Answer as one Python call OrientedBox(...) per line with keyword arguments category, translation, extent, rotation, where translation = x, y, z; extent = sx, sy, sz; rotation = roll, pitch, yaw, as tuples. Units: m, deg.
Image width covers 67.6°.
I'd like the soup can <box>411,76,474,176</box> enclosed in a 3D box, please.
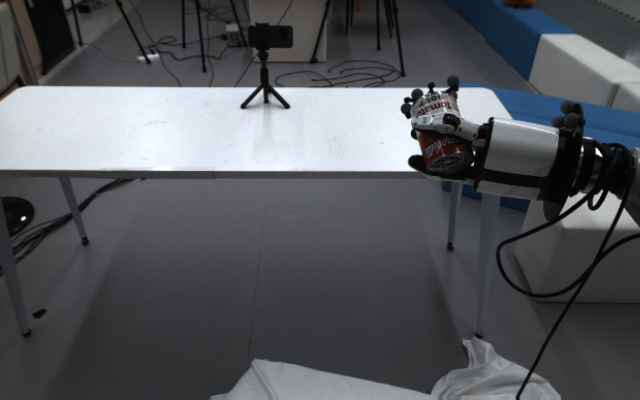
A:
OrientedBox(category="soup can", translation=(0.175, -0.096, 0.690), extent=(0.067, 0.067, 0.101), rotation=(-8, 68, -14))
